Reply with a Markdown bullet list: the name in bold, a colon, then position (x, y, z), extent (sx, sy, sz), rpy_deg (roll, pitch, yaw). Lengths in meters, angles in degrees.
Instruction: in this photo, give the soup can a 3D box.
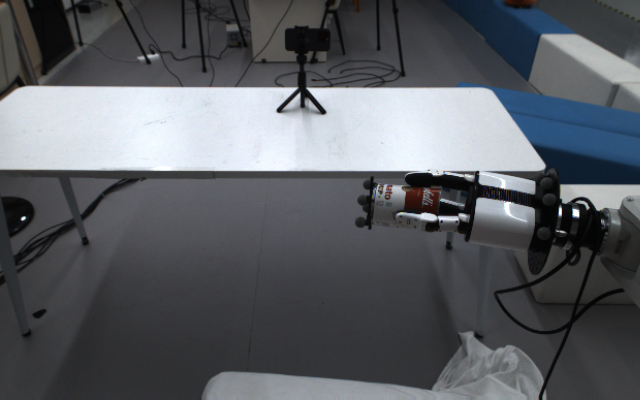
- **soup can**: position (0.137, 0.010, 0.759), extent (0.101, 0.067, 0.067), rpy_deg (5, 34, 13)
